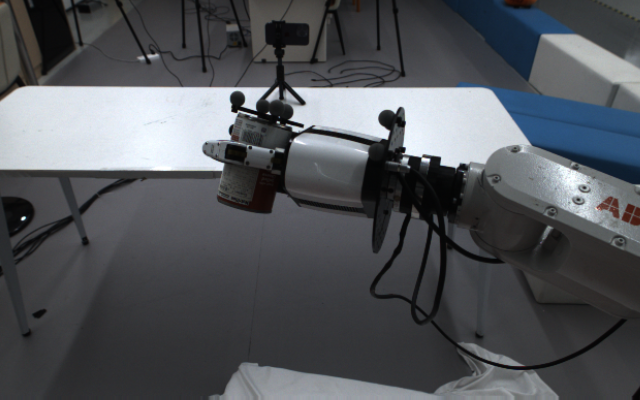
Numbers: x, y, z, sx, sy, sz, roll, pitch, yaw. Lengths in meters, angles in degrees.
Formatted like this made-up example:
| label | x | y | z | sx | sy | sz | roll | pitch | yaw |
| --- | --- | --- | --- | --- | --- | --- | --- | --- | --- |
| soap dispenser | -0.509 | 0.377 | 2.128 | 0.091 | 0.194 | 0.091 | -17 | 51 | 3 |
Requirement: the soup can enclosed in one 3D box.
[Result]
| label | x | y | z | sx | sy | sz | roll | pitch | yaw |
| --- | --- | --- | --- | --- | --- | --- | --- | --- | --- |
| soup can | -0.074 | -0.042 | 0.558 | 0.067 | 0.101 | 0.067 | 15 | 7 | -2 |
